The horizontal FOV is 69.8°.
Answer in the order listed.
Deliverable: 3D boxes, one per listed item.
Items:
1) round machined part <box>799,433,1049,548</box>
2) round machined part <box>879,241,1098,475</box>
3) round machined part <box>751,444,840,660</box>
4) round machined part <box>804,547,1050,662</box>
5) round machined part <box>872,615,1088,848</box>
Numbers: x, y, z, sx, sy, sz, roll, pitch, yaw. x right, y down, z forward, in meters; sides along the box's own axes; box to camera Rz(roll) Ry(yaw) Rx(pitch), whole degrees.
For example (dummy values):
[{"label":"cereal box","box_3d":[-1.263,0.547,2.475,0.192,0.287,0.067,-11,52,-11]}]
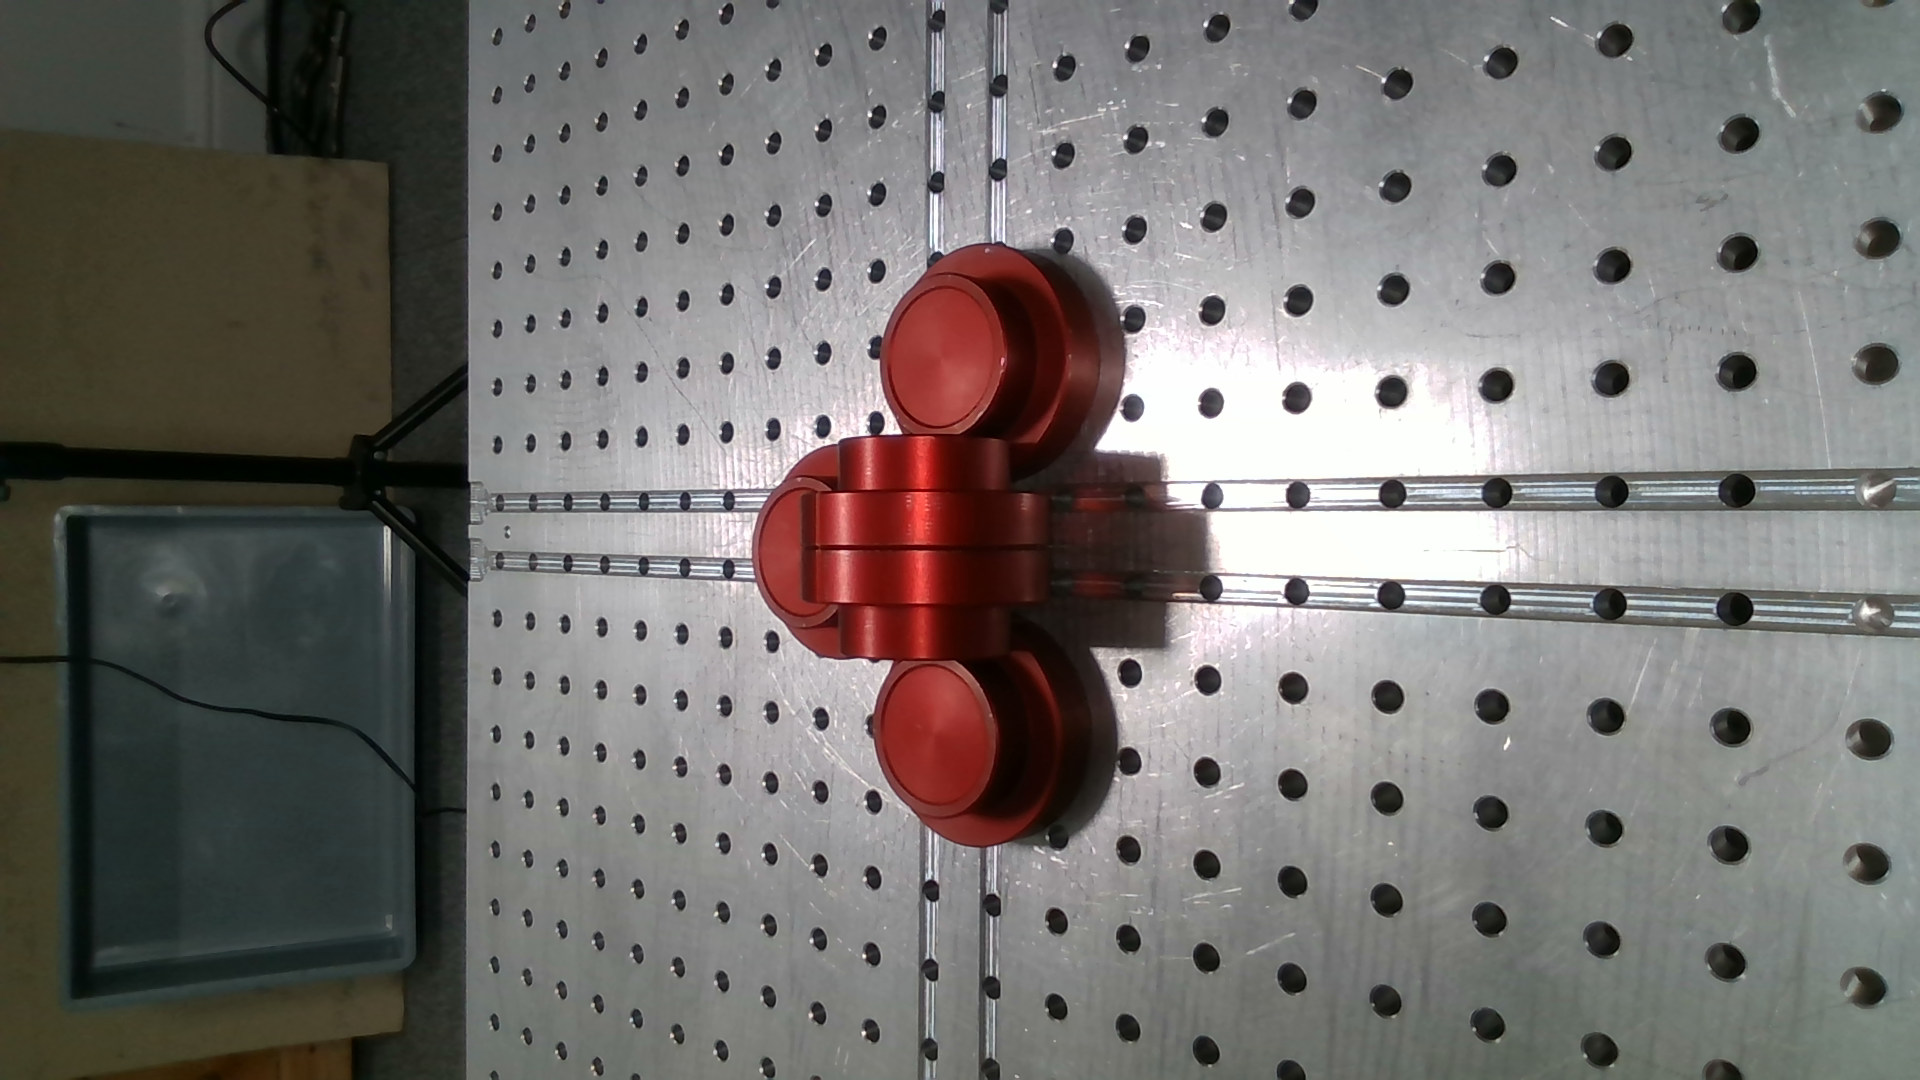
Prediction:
[{"label":"round machined part","box_3d":[-0.014,-0.019,0.541,0.098,0.098,0.042,2,91,40]},{"label":"round machined part","box_3d":[0.005,-0.074,0.569,0.098,0.042,0.098,0,91,40]},{"label":"round machined part","box_3d":[-0.057,0.005,0.622,0.098,0.042,0.098,0,91,40]},{"label":"round machined part","box_3d":[-0.013,0.024,0.541,0.098,0.098,0.042,-1,90,40]},{"label":"round machined part","box_3d":[0.002,0.079,0.573,0.098,0.042,0.098,0,91,40]}]
